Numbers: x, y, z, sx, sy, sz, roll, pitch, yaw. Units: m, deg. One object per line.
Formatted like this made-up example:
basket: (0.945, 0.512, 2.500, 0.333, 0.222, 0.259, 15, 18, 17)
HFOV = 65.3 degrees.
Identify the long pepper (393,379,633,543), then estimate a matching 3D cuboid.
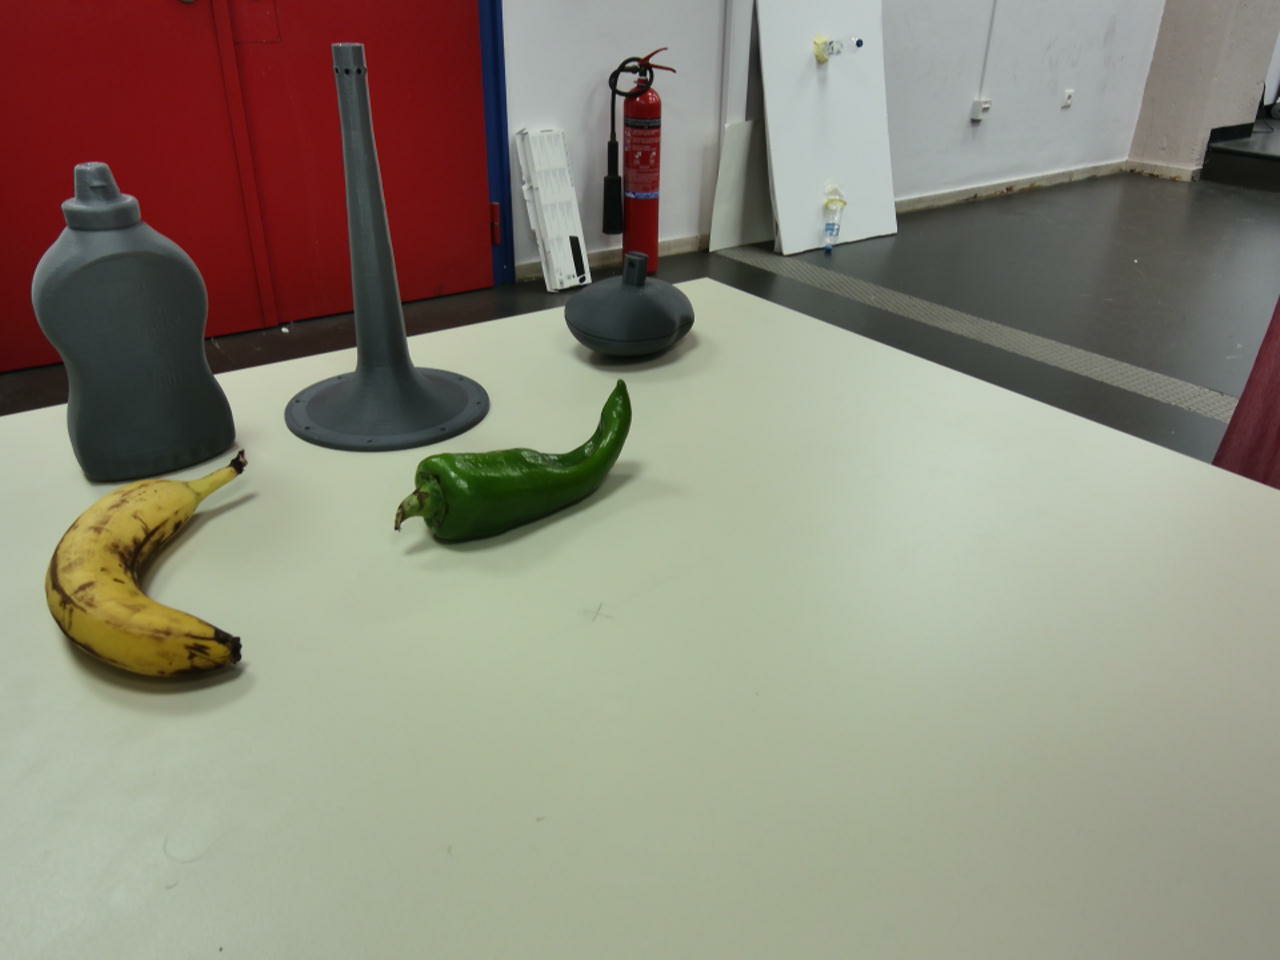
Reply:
long pepper: (-0.069, -0.010, 0.600, 0.175, 0.065, 0.058, -19, 32, -34)
